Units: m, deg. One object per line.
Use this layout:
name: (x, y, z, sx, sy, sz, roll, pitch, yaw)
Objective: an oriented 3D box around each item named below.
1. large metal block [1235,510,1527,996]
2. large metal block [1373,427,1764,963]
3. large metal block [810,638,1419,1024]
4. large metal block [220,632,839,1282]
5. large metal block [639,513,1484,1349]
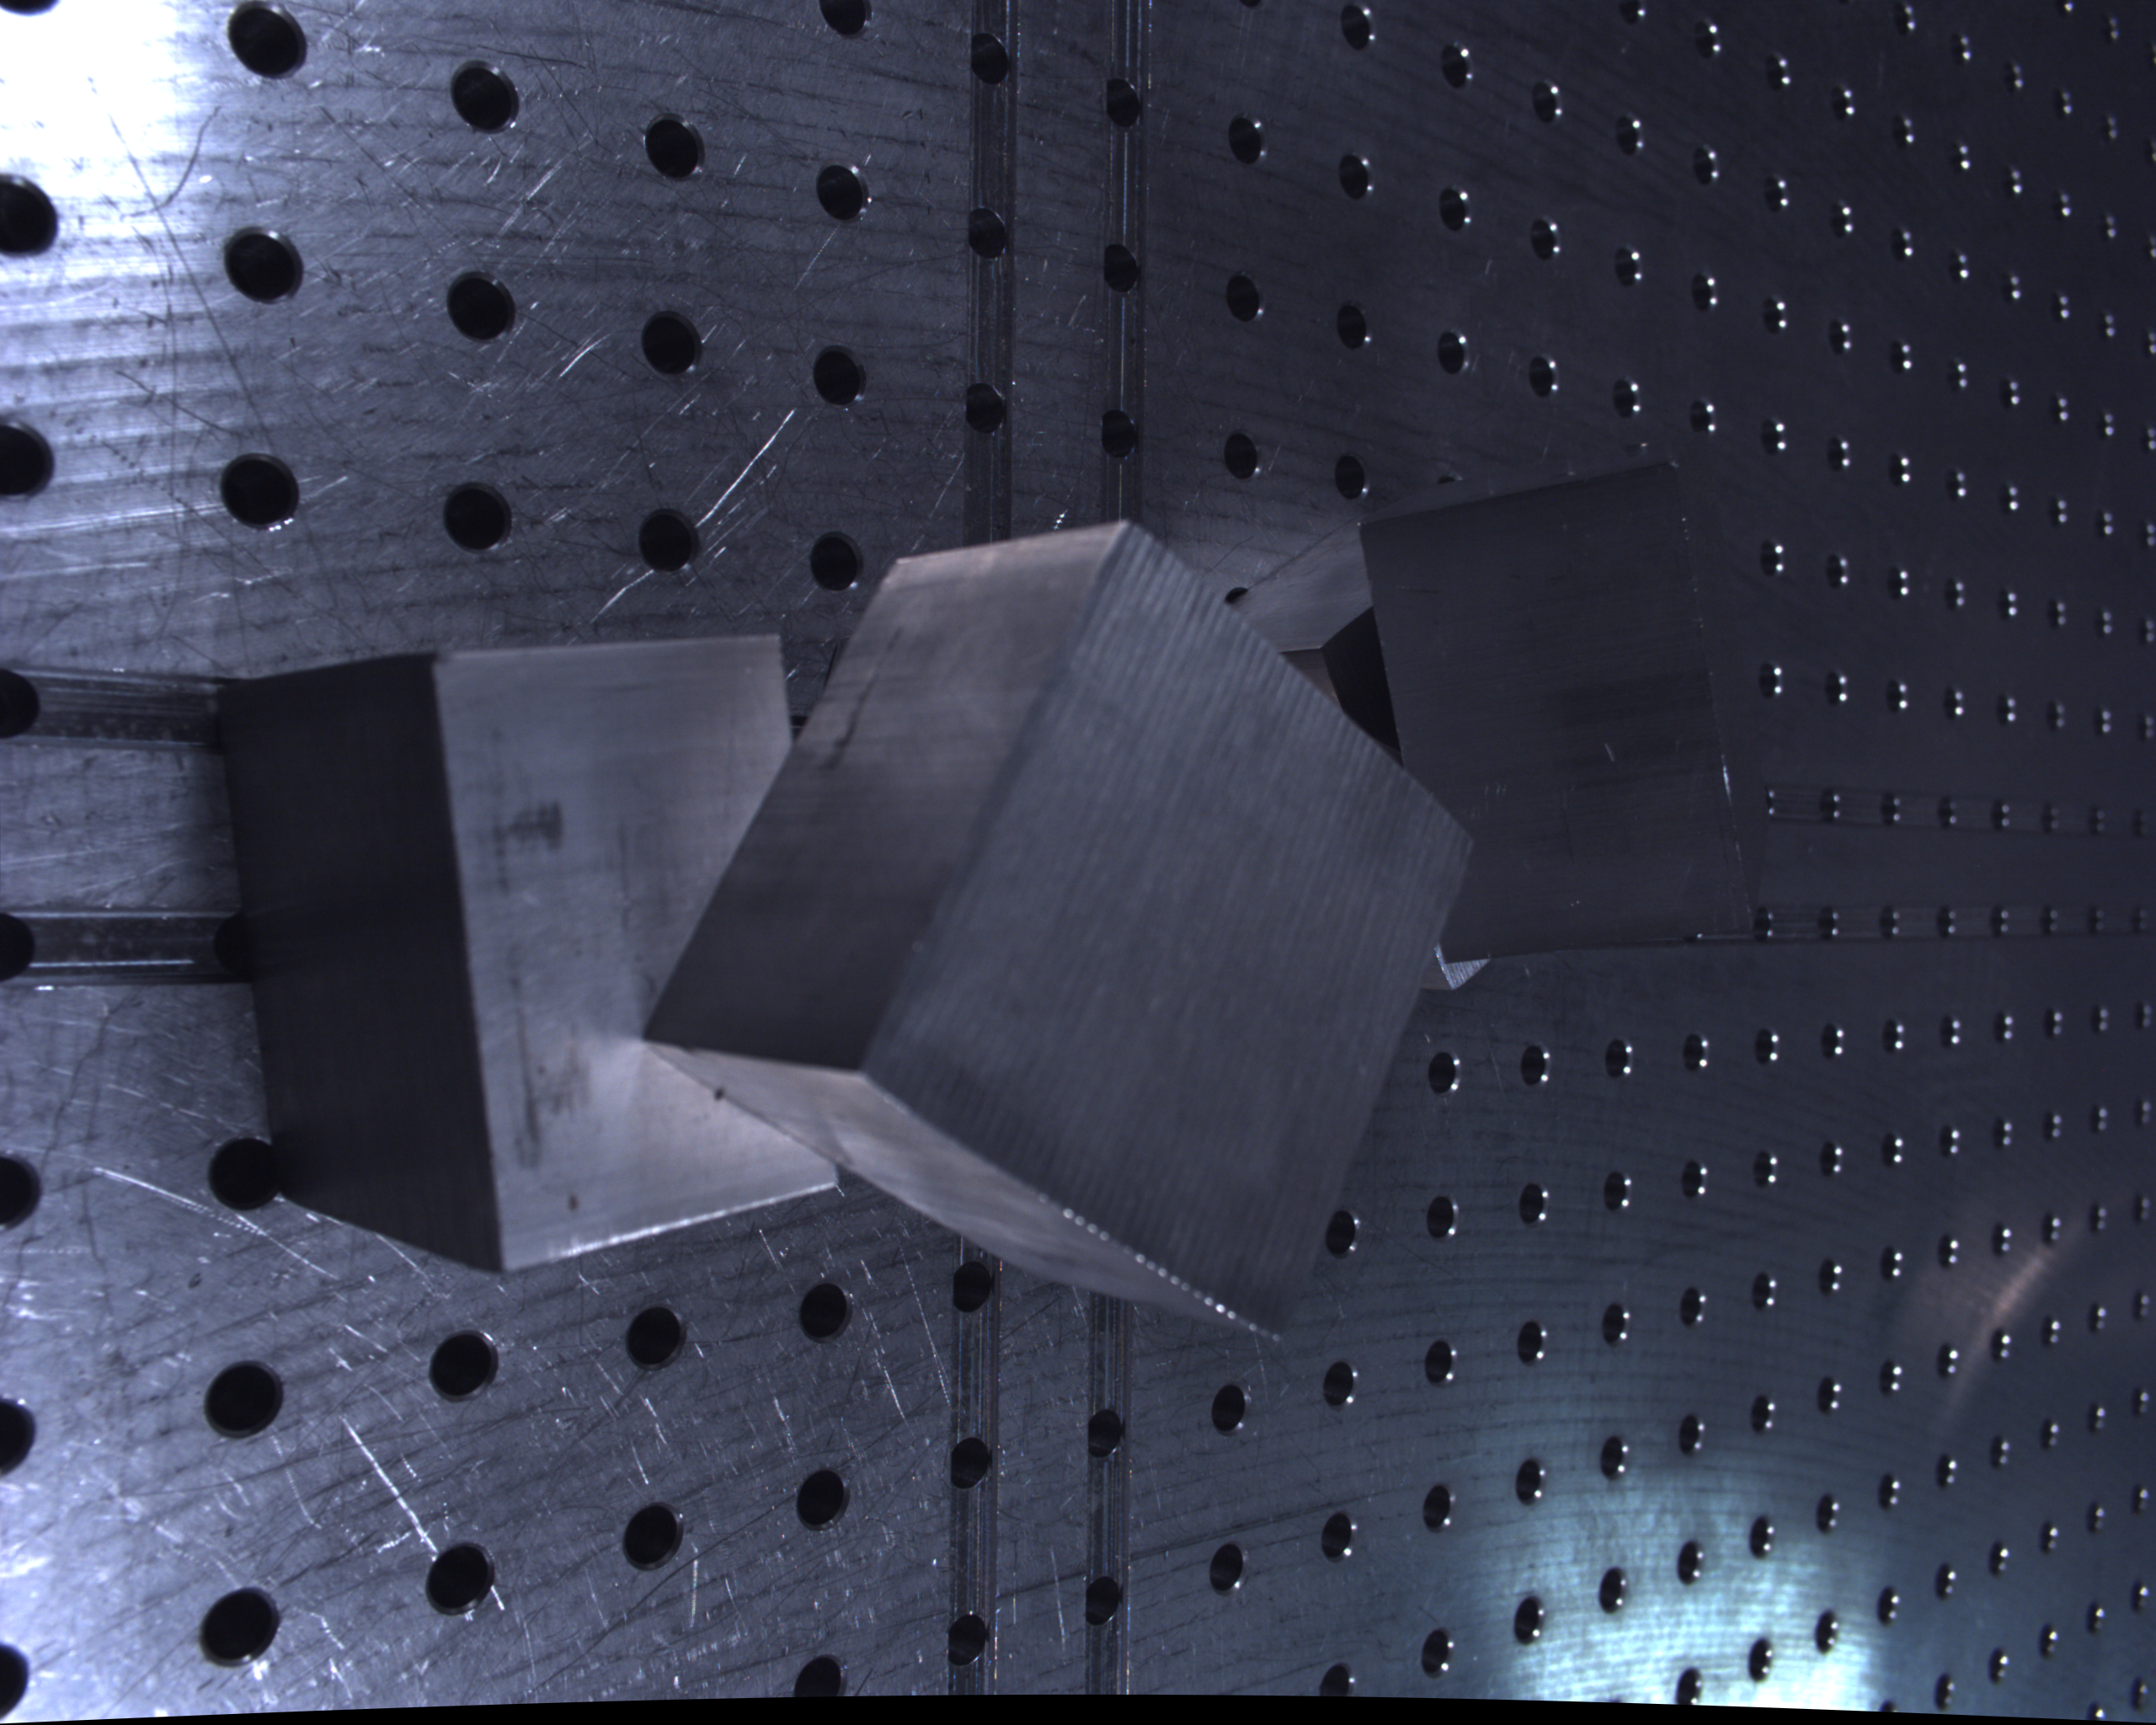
large metal block: (0.072, -0.027, 0.455, 0.080, 0.050, 0.080, -37, 113, -34)
large metal block: (0.094, -0.034, 0.385, 0.080, 0.050, 0.079, -37, 117, -66)
large metal block: (0.004, -0.005, 0.378, 0.080, 0.080, 0.050, 24, 75, -38)
large metal block: (-0.082, 0.010, 0.305, 0.050, 0.080, 0.079, -8, 96, -40)
large metal block: (0.001, 0.011, 0.290, 0.080, 0.050, 0.080, 38, 67, -33)
